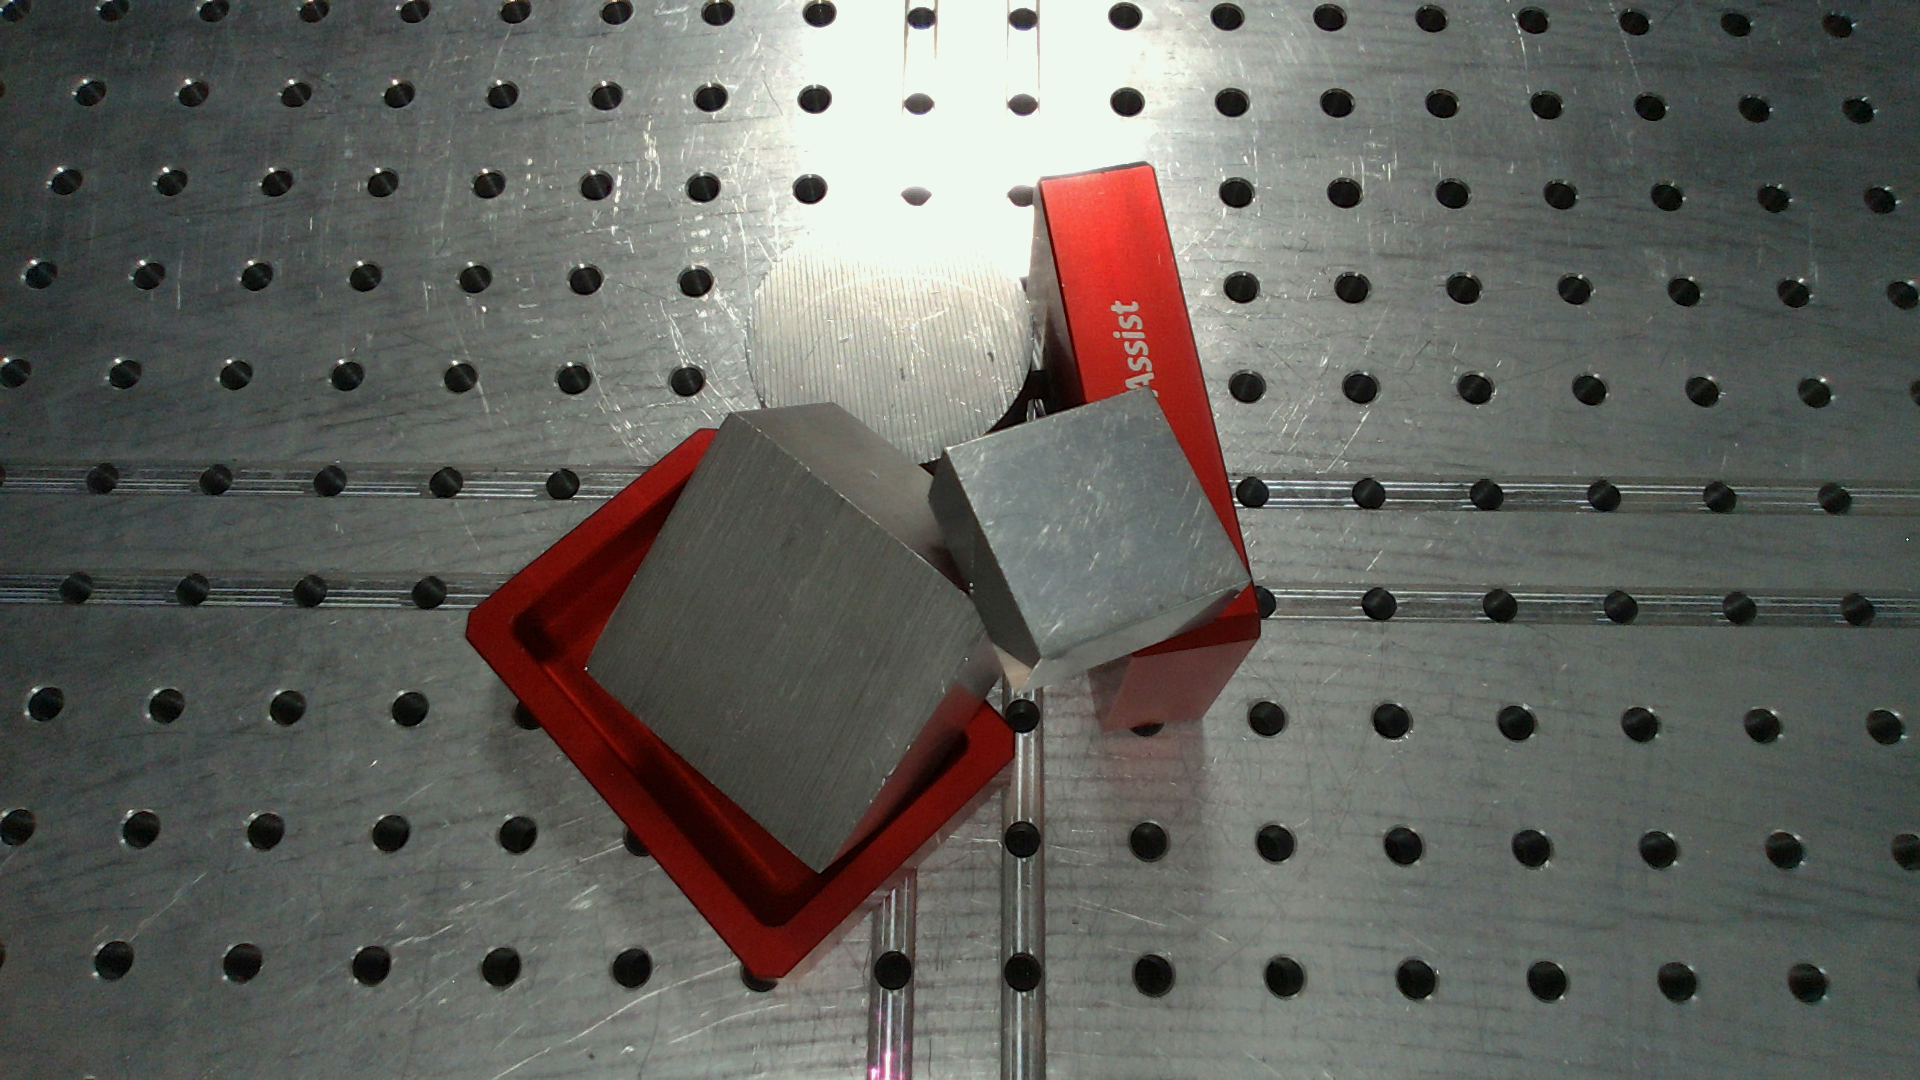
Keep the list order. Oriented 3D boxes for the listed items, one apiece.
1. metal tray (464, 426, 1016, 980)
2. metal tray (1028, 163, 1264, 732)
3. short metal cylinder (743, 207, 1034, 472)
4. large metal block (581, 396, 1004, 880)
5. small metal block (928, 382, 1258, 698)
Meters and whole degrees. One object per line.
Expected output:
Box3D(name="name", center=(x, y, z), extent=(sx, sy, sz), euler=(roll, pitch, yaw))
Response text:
Box3D(name="metal tray", center=(-0.059, 0.043, 0.378), extent=(0.090, 0.030, 0.130), euler=(-41, 75, -14))
Box3D(name="metal tray", center=(0.044, -0.022, 0.371), extent=(0.030, 0.090, 0.130), euler=(-9, 70, -3))
Box3D(name="short metal cylinder", center=(-0.020, -0.049, 0.401), extent=(0.080, 0.050, 0.080), euler=(0, 70, 0))
Box3D(name="large metal block", center=(-0.033, 0.021, 0.343), extent=(0.080, 0.050, 0.080), euler=(38, 110, 12))
Box3D(name="small metal block", center=(0.027, 0.000, 0.297), extent=(0.050, 0.025, 0.050), euler=(-19, 71, -18))
